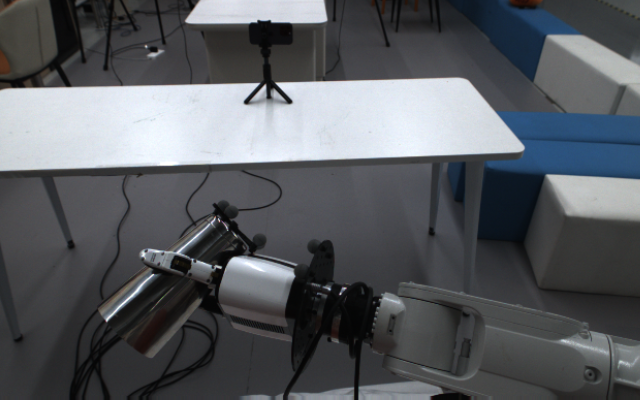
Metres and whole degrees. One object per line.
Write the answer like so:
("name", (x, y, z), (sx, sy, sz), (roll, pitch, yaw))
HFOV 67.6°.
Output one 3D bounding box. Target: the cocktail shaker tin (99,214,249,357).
("cocktail shaker tin", (-0.175, 0.096, 0.604), (0.170, 0.093, 0.093), (-43, 50, -14))
